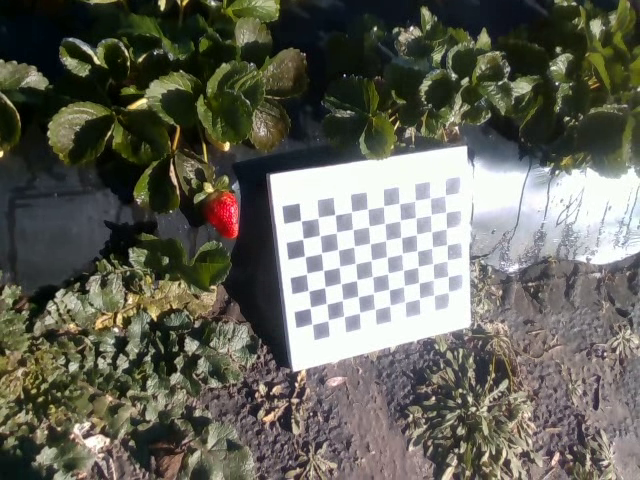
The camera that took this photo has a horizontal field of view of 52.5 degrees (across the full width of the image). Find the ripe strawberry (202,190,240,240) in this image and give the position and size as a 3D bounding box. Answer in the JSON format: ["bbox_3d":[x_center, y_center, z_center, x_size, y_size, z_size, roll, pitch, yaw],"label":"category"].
[{"bbox_3d":[-0.117,-0.027,0.779,0.048,0.069,0.040,-28,14,-12],"label":"ripe strawberry"}]
